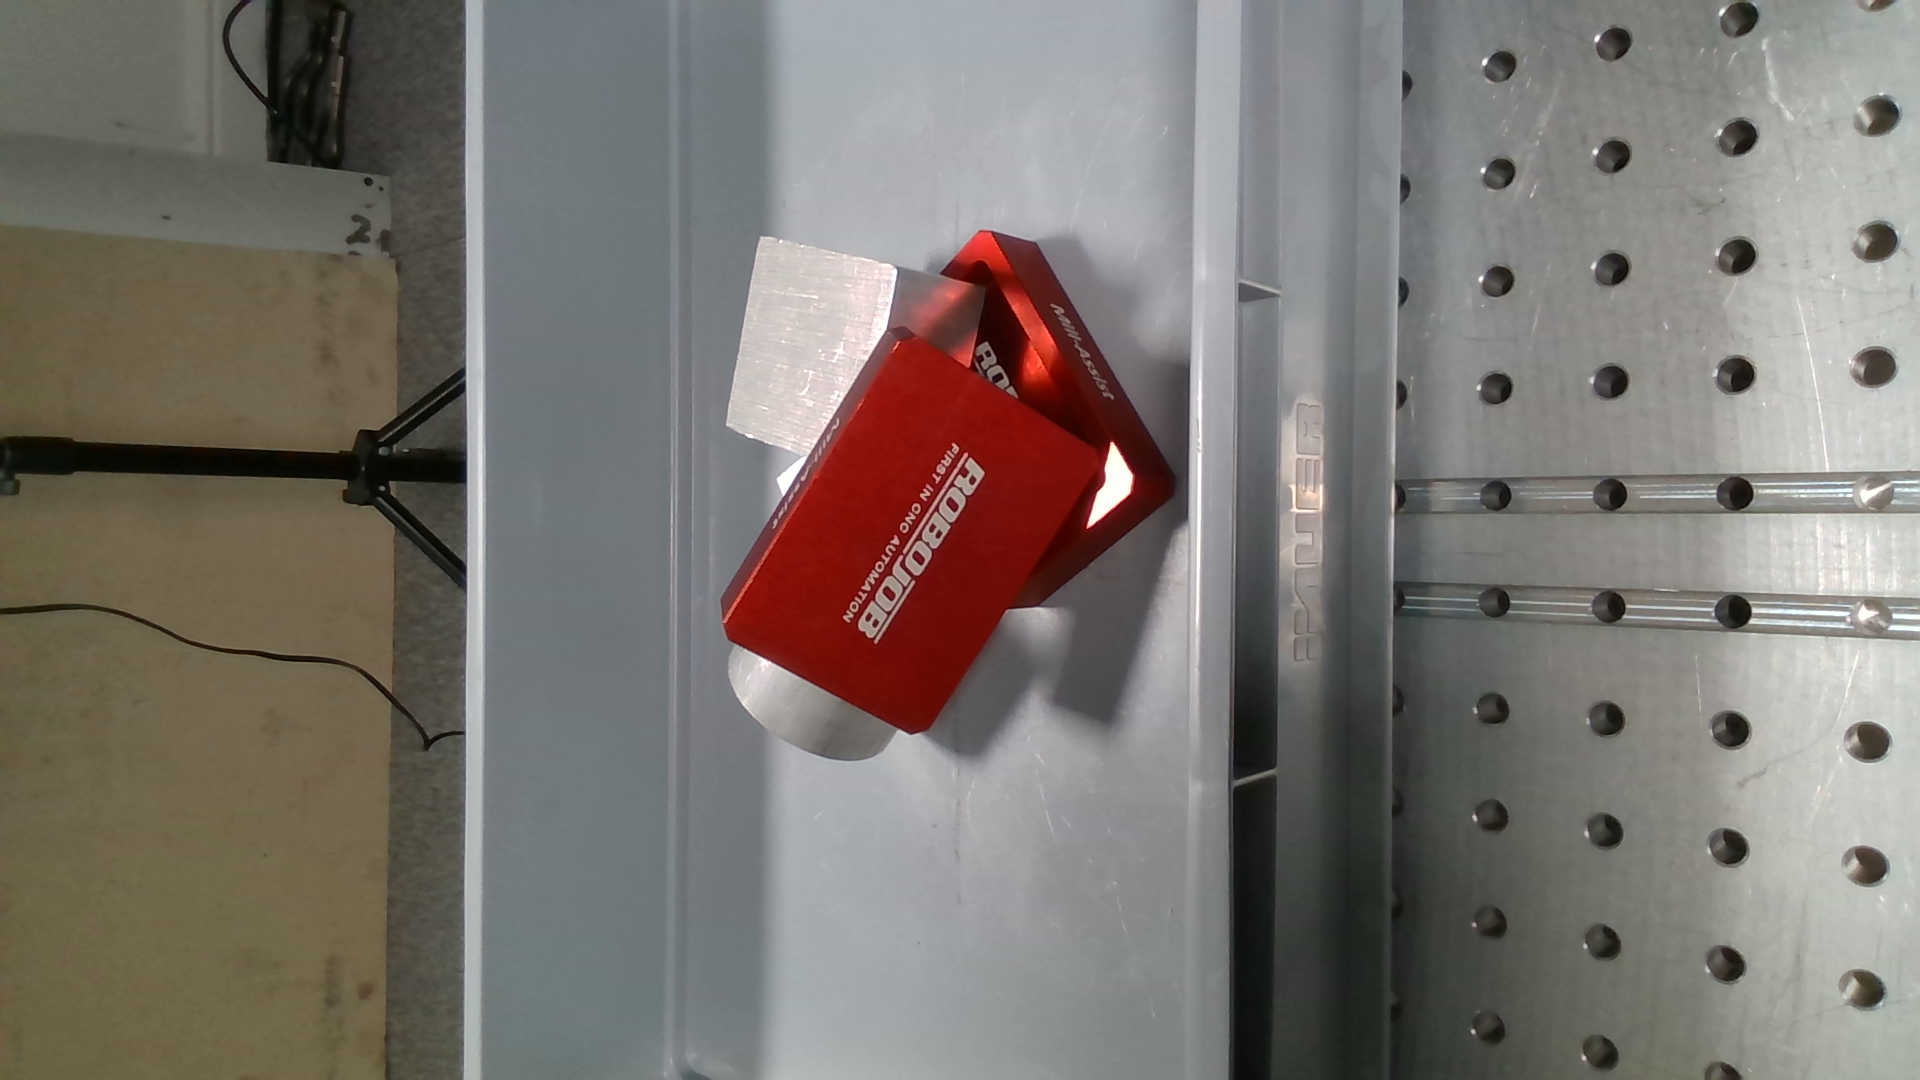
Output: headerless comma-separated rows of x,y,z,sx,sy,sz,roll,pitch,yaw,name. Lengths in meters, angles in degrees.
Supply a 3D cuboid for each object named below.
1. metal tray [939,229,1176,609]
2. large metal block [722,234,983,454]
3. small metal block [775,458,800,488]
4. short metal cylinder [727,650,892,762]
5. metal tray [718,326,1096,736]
0.019,-0.048,0.560,0.090,0.030,0.130,-42,65,33,metal tray
-0.045,-0.075,0.559,0.080,0.050,0.080,21,104,38,large metal block
-0.051,-0.019,0.624,0.050,0.025,0.050,-36,68,35,small metal block
-0.053,0.049,0.590,0.080,0.080,0.050,47,118,30,short metal cylinder
-0.021,-0.002,0.518,0.130,0.090,0.030,-58,17,8,metal tray
